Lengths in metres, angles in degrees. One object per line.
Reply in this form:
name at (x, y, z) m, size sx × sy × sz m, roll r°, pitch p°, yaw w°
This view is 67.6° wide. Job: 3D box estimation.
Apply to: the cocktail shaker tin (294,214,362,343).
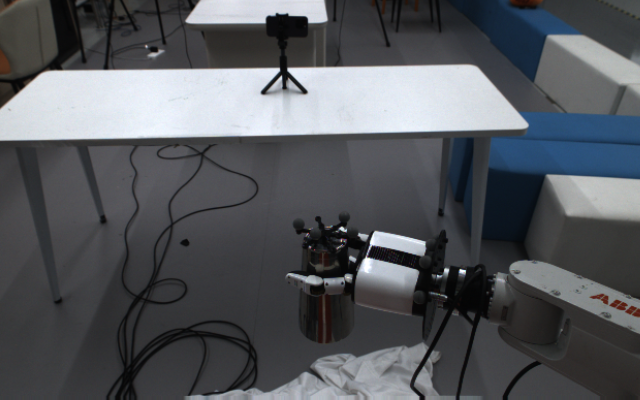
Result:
cocktail shaker tin at (0.012, 0.125, 0.751) m, size 0.093 × 0.170 × 0.093 m, roll -1°, pitch 32°, yaw 0°
